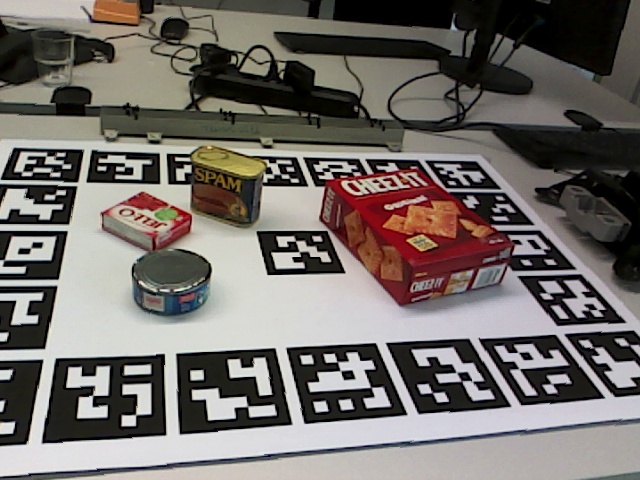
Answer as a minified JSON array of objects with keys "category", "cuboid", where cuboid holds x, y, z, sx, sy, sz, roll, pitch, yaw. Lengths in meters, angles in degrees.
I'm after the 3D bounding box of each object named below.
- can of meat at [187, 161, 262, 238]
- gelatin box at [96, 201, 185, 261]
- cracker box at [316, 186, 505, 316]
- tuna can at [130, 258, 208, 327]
[{"category":"can of meat","cuboid":[-0.137,-0.056,0.876,0.102,0.083,0.058,15,31,12]},{"category":"gelatin box","cuboid":[-0.238,-0.014,0.820,0.090,0.030,0.073,25,32,19]},{"category":"cracker box","cuboid":[0.119,0.004,0.853,0.163,0.072,0.215,-9,34,-30]},{"category":"tuna can","cuboid":[-0.173,0.059,0.709,0.085,0.033,0.086,6,35,-5]}]
